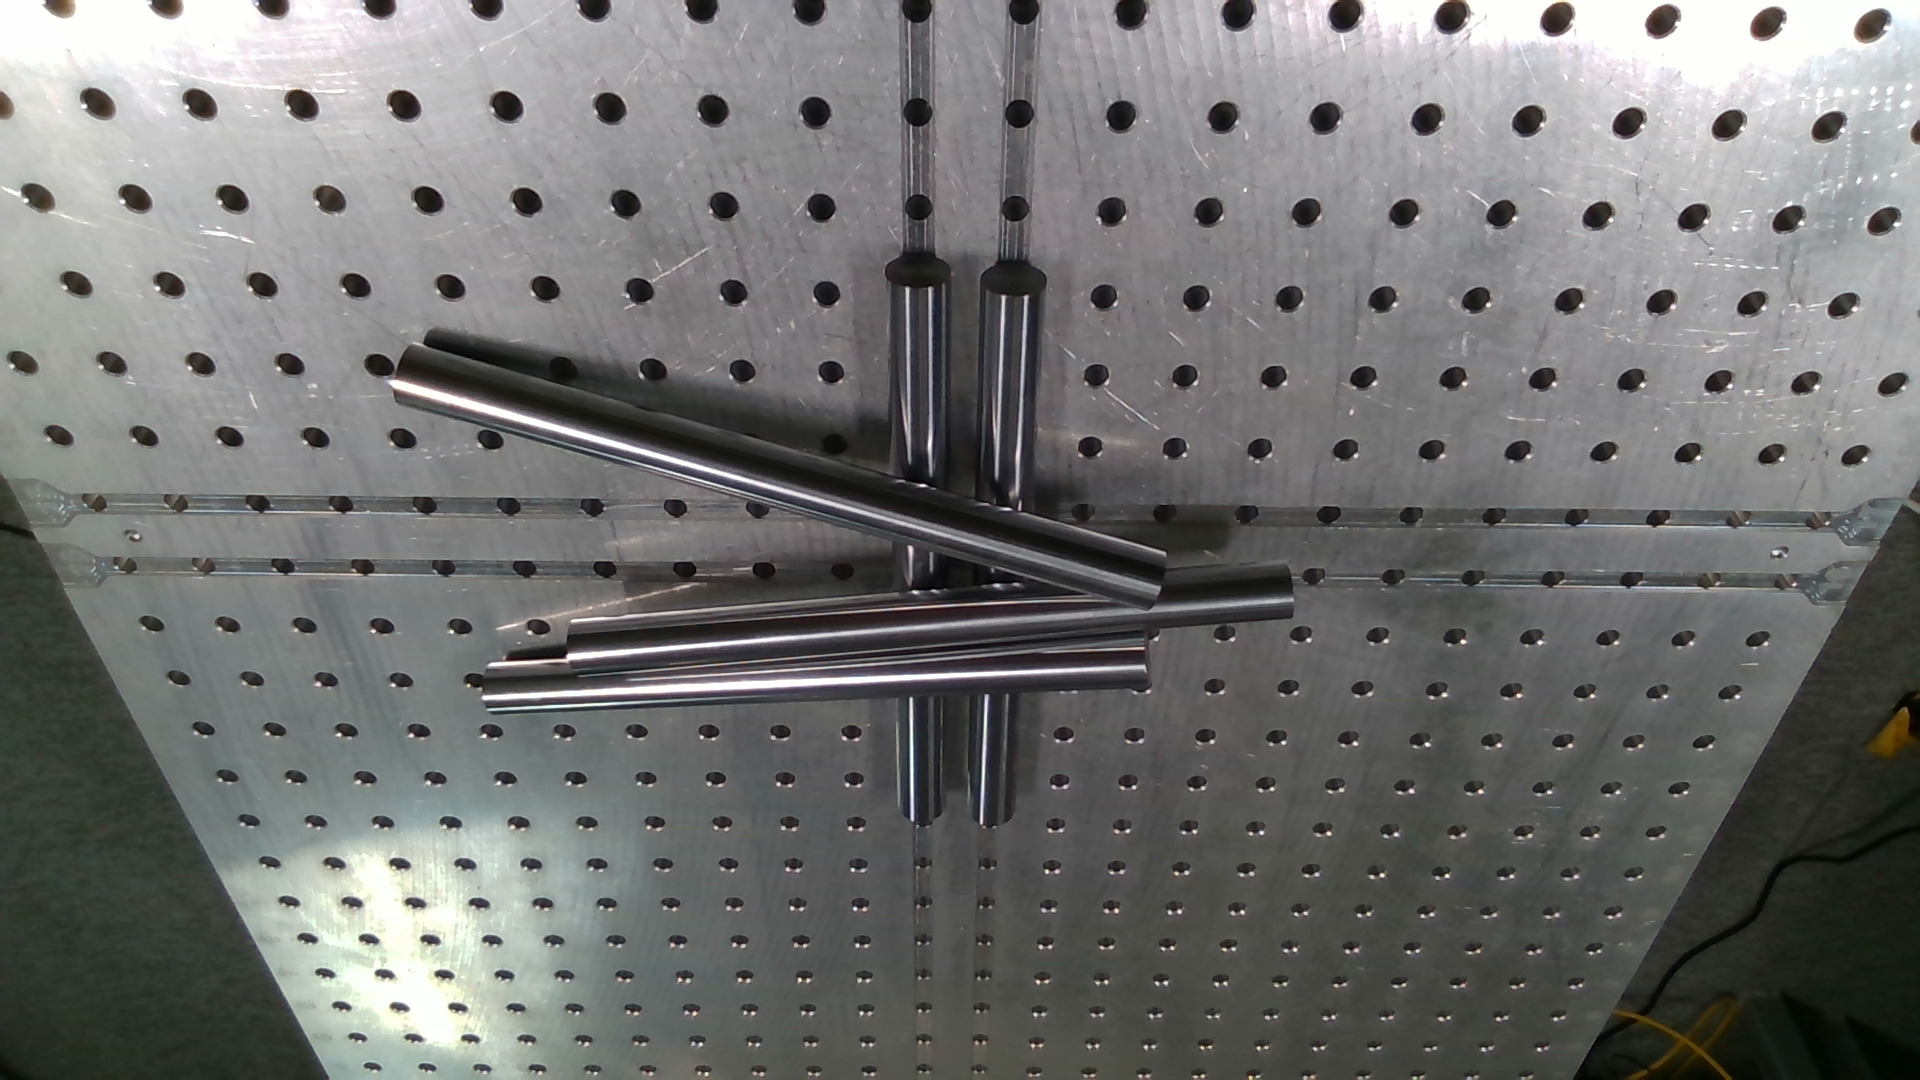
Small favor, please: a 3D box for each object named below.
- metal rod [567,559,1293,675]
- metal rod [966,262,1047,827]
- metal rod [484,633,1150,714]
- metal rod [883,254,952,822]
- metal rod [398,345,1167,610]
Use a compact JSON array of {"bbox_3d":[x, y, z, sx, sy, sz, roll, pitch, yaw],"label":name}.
[{"bbox_3d":[-0.014,0.033,0.578,0.300,0.025,0.025,-5,130,4],"label":"metal rod"},{"bbox_3d":[0.017,0.020,0.599,0.025,0.025,0.301,1,130,0],"label":"metal rod"},{"bbox_3d":[-0.068,0.059,0.607,0.300,0.025,0.025,-4,130,12],"label":"metal rod"},{"bbox_3d":[-0.017,0.017,0.597,0.025,0.025,0.301,1,130,0],"label":"metal rod"},{"bbox_3d":[-0.066,-0.024,0.538,0.300,0.025,0.025,15,129,-4],"label":"metal rod"}]
